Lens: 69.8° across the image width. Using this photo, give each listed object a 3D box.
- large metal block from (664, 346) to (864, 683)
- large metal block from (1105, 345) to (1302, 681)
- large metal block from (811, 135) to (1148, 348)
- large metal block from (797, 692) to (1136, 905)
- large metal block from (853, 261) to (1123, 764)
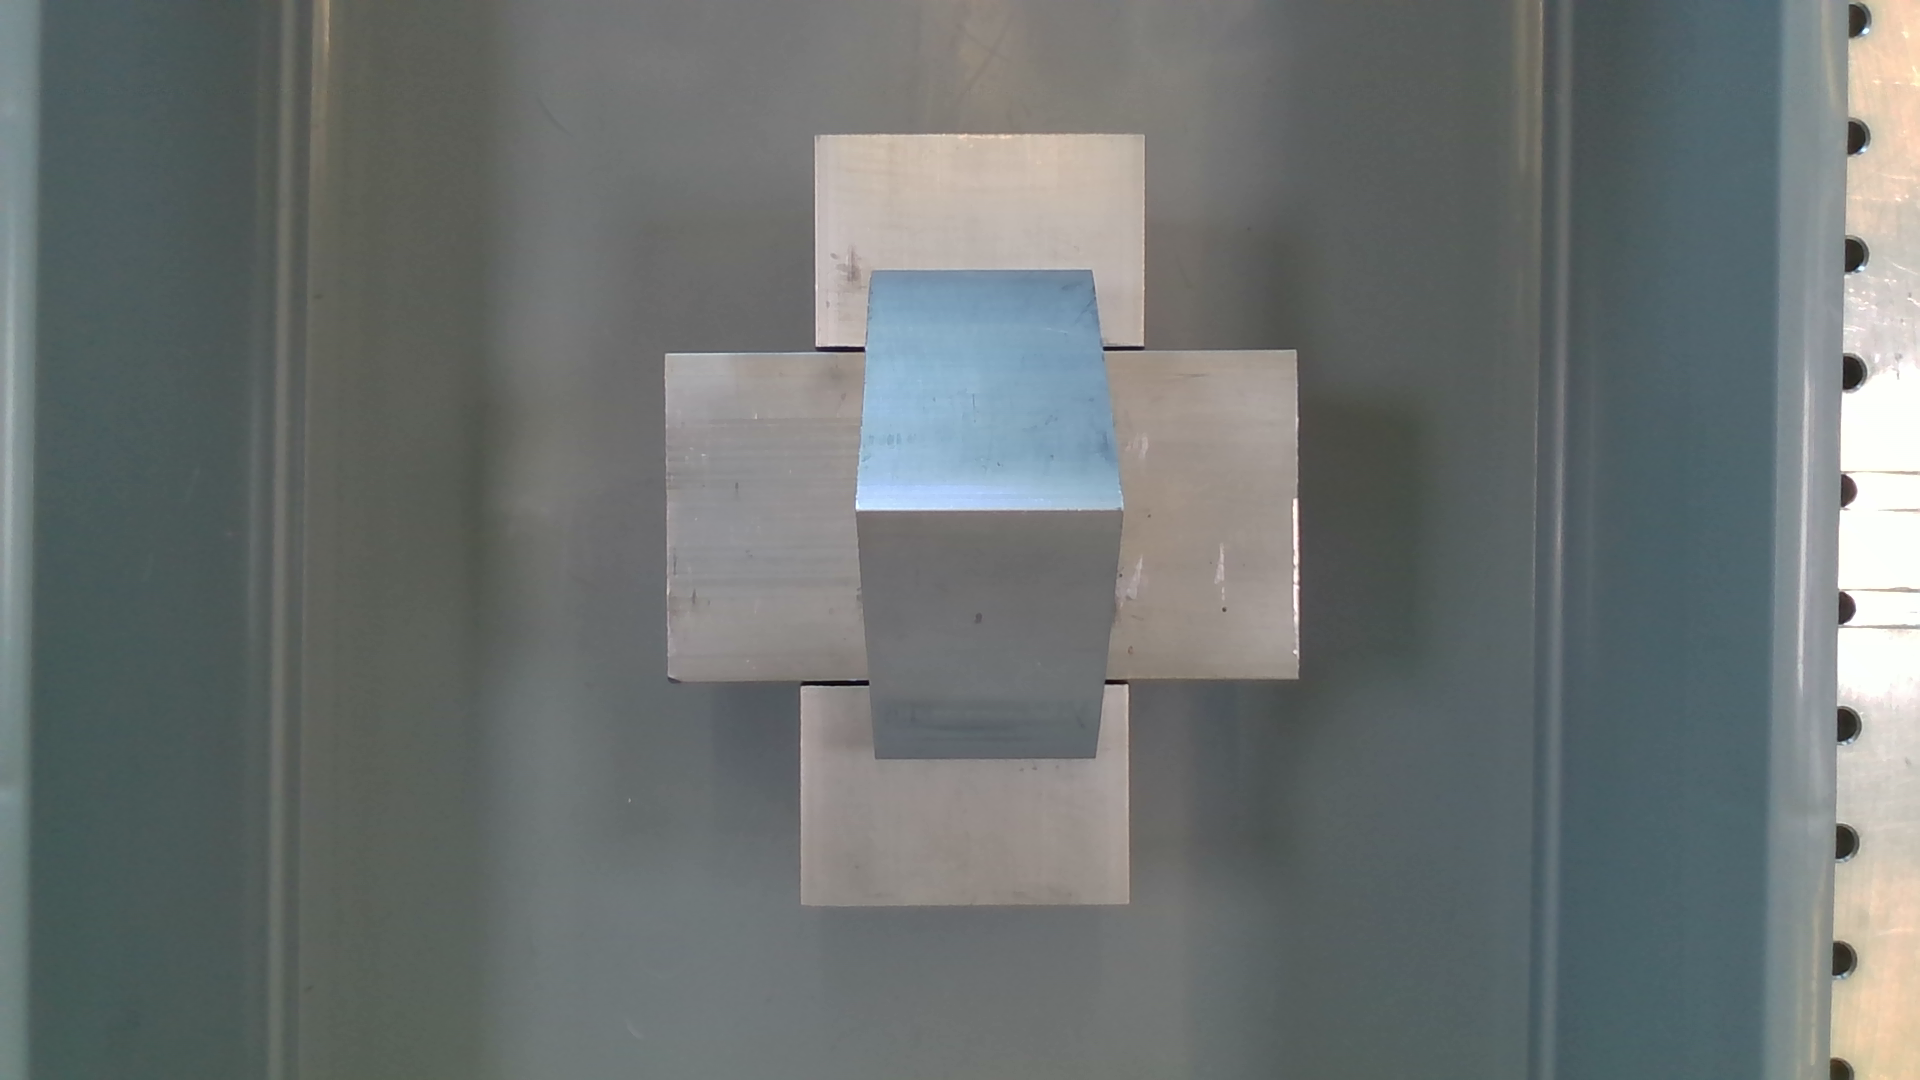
[{"bbox_3d":[-0.045,-0.006,0.367,0.050,0.080,0.080,0,90,0],"label":"large metal block"},{"bbox_3d":[0.056,-0.006,0.367,0.050,0.080,0.080,0,90,0],"label":"large metal block"},{"bbox_3d":[0.005,-0.071,0.367,0.080,0.080,0.050,0,90,0],"label":"large metal block"},{"bbox_3d":[0.002,0.061,0.365,0.080,0.080,0.050,0,90,0],"label":"large metal block"},{"bbox_3d":[0.005,-0.006,0.311,0.050,0.080,0.080,0,135,0],"label":"large metal block"}]
